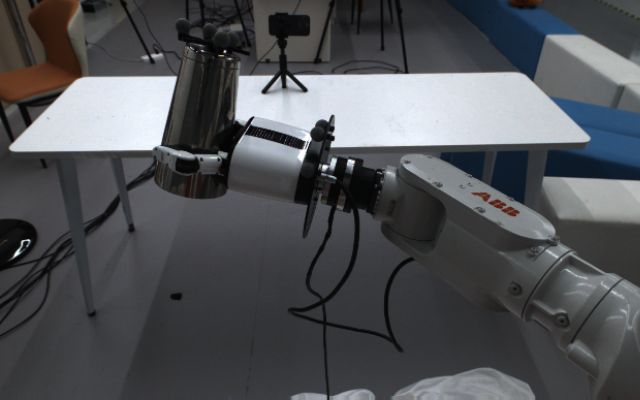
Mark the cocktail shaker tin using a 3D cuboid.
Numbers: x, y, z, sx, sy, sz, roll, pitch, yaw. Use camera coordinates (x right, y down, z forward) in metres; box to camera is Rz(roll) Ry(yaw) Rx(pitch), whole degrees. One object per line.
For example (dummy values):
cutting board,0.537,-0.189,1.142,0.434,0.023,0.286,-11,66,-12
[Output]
cocktail shaker tin,-0.146,-0.096,0.596,0.093,0.170,0.093,13,20,-5
